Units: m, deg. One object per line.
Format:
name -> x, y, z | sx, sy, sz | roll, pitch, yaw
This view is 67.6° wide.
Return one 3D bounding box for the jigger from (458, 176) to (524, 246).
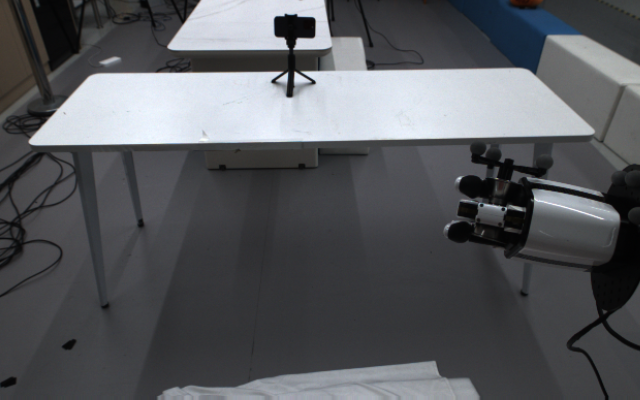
jigger -> 0.202, 0.011, 0.552 | 0.043, 0.071, 0.043 | 14, 1, 0
